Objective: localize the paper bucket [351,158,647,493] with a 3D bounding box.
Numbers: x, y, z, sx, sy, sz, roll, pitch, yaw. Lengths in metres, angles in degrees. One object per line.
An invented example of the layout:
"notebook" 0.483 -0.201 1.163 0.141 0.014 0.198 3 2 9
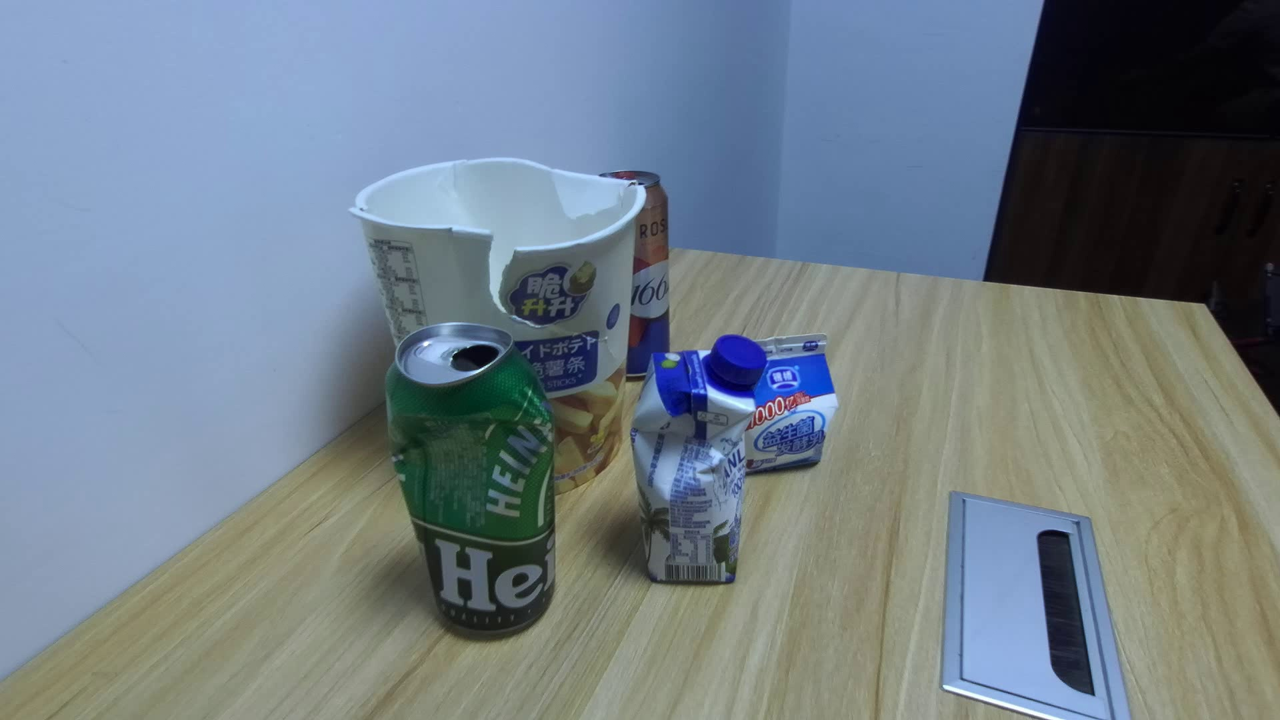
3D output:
"paper bucket" -0.086 -0.023 0.488 0.202 0.197 0.146 16 34 31

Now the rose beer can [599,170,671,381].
"rose beer can" -0.008 -0.070 0.603 0.068 0.169 0.068 -3 28 2

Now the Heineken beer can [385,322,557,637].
"Heineken beer can" -0.085 0.064 0.366 0.066 0.164 0.077 -19 35 -27

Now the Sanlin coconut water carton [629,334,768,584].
"Sanlin coconut water carton" 0.030 0.055 0.392 0.070 0.144 0.060 1 30 3

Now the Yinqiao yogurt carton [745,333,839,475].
"Yinqiao yogurt carton" 0.096 0.023 0.496 0.074 0.097 0.080 -8 37 -11
